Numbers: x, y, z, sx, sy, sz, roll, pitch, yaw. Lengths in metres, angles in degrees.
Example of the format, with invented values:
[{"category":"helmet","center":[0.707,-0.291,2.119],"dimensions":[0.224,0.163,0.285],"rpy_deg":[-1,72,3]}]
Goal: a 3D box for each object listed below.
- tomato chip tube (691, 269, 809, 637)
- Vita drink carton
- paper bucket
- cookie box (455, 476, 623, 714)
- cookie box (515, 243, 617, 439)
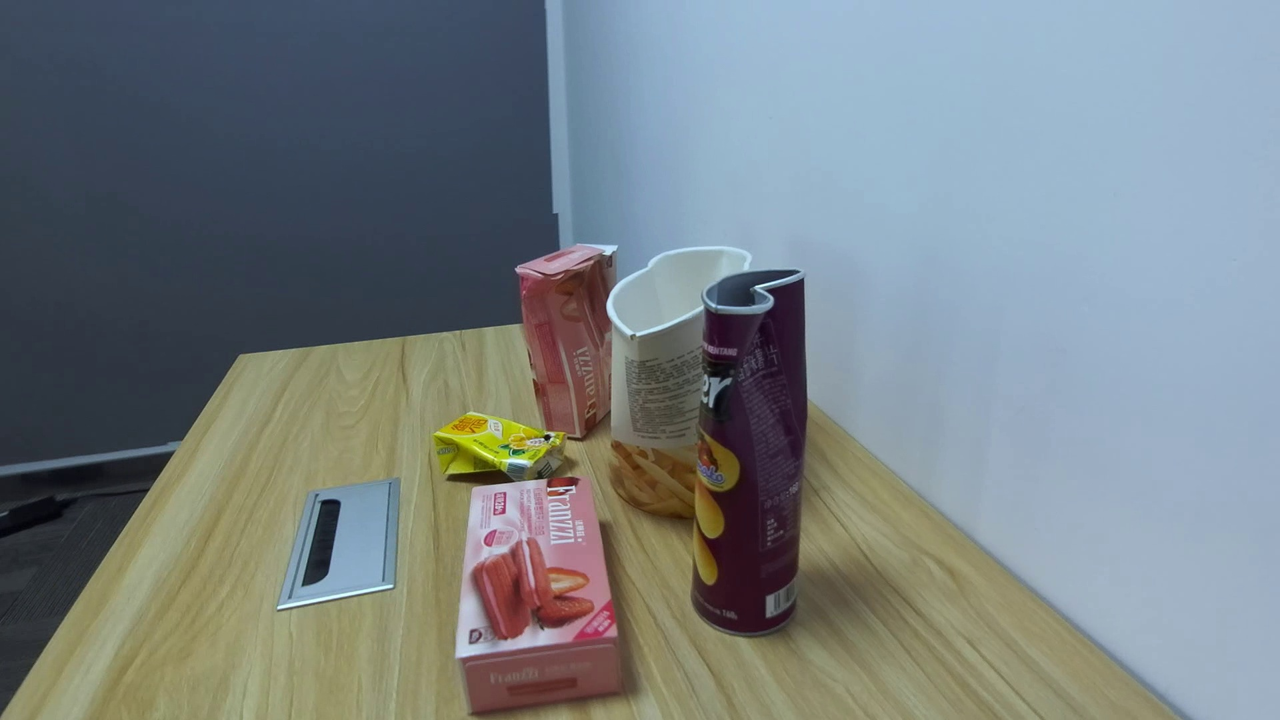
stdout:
[{"category":"tomato chip tube","center":[0.074,0.065,0.464],"dimensions":[0.078,0.235,0.076],"rpy_deg":[-3,23,-4]},{"category":"Vita drink carton","center":[-0.131,0.088,0.673],"dimensions":[0.108,0.042,0.087],"rpy_deg":[10,19,18]},{"category":"paper bucket","center":[0.039,0.017,0.617],"dimensions":[0.148,0.199,0.217],"rpy_deg":[-7,23,-9]},{"category":"cookie box","center":[-0.074,0.155,0.504],"dimensions":[0.096,0.048,0.184],"rpy_deg":[-4,23,-9]},{"category":"cookie box","center":[-0.067,-0.018,0.731],"dimensions":[0.055,0.184,0.119],"rpy_deg":[10,26,27]}]
